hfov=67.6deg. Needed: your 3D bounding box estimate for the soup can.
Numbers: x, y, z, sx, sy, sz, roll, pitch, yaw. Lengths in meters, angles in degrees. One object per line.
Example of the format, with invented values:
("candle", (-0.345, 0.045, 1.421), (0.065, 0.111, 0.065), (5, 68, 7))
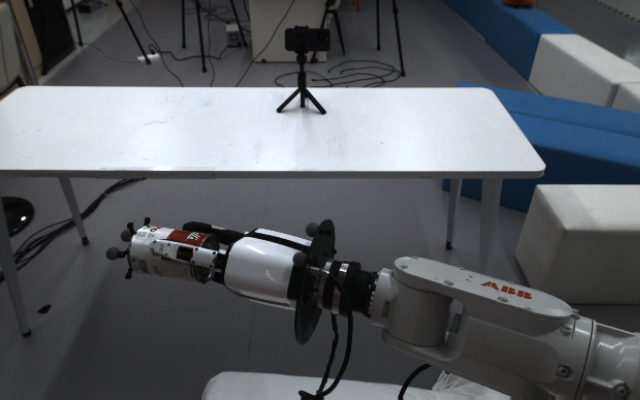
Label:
("soup can", (-0.194, 0.074, 0.654), (0.101, 0.067, 0.067), (6, 35, 11))
